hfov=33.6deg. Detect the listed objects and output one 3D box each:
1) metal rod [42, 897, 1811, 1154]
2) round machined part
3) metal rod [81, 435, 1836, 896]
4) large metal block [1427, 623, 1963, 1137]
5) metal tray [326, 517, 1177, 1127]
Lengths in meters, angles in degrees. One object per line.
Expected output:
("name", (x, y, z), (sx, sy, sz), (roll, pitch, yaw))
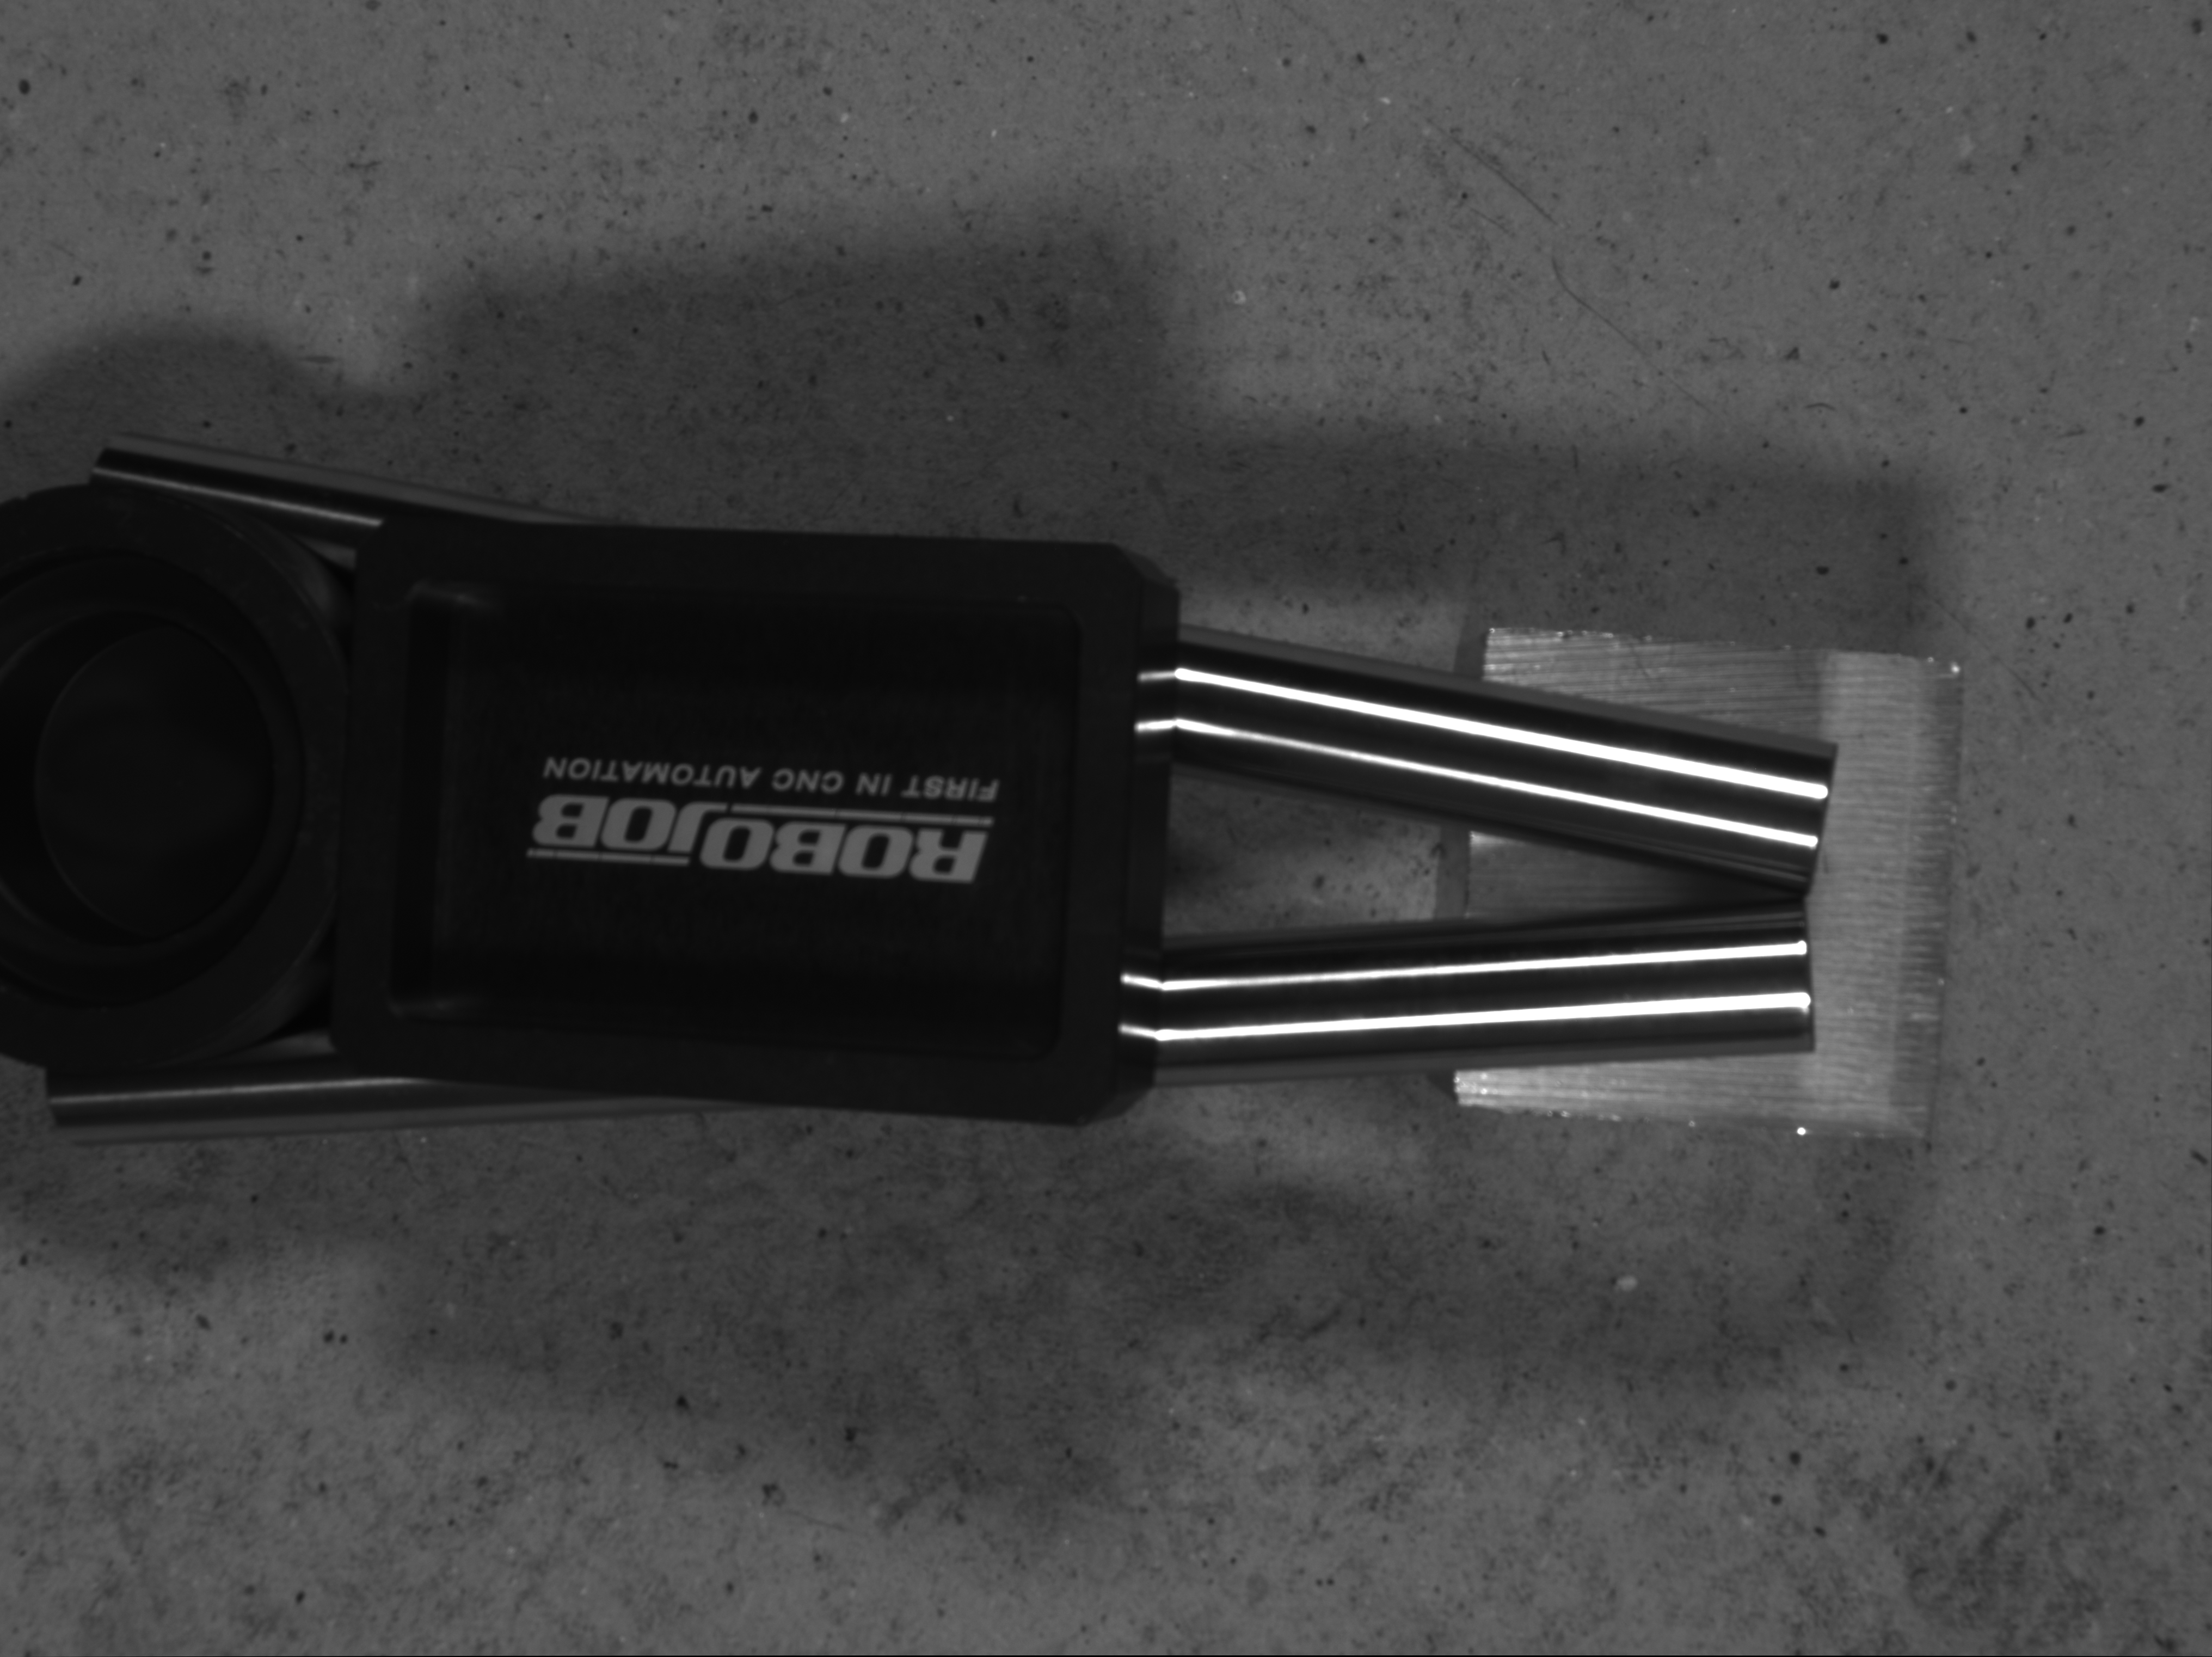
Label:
("metal rod", (-0.035, 0.034, 0.613), (0.300, 0.025, 0.025), (-4, 90, 12))
("round machined part", (-0.165, -0.008, 0.630), (0.098, 0.042, 0.098), (0, 89, 10))
("metal rod", (-0.030, -0.029, 0.613), (0.300, 0.025, 0.025), (11, 90, 12))
("large metal block", (0.100, 0.009, 0.632), (0.080, 0.050, 0.080), (4, 90, 0))
("metal tray", (-0.057, -0.002, 0.590), (0.130, 0.030, 0.090), (3, 90, 12))
